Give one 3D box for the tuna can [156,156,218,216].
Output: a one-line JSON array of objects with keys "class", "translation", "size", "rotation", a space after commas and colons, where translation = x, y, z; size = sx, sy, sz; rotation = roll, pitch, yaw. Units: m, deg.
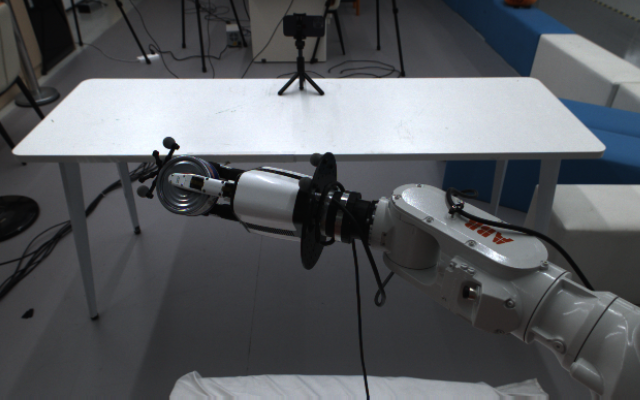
[{"class": "tuna can", "translation": [-0.186, -0.020, 0.687], "size": [0.085, 0.085, 0.034], "rotation": [9, -2, 11]}]
